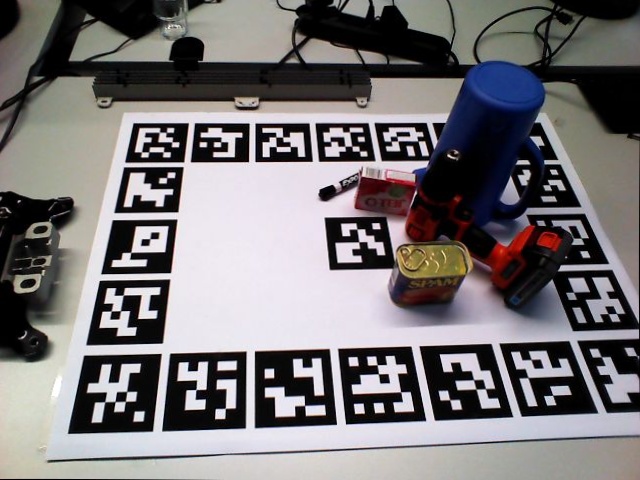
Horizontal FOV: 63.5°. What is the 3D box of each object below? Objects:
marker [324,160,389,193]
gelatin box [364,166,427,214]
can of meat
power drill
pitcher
[{"bbox_3d":[0.061,-0.107,0.866,0.121,0.020,0.019,-23,60,-18],"label":"marker"},{"bbox_3d":[0.119,-0.076,0.819,0.089,0.073,0.030,9,58,1],"label":"gelatin box"},{"bbox_3d":[0.155,0.051,0.720,0.102,0.084,0.057,-1,53,-5],"label":"can of meat"},{"bbox_3d":[0.222,-0.028,0.723,0.187,0.185,0.057,32,61,11],"label":"power drill"},{"bbox_3d":[0.267,-0.126,0.767,0.189,0.243,0.132,24,60,21],"label":"pitcher"}]
